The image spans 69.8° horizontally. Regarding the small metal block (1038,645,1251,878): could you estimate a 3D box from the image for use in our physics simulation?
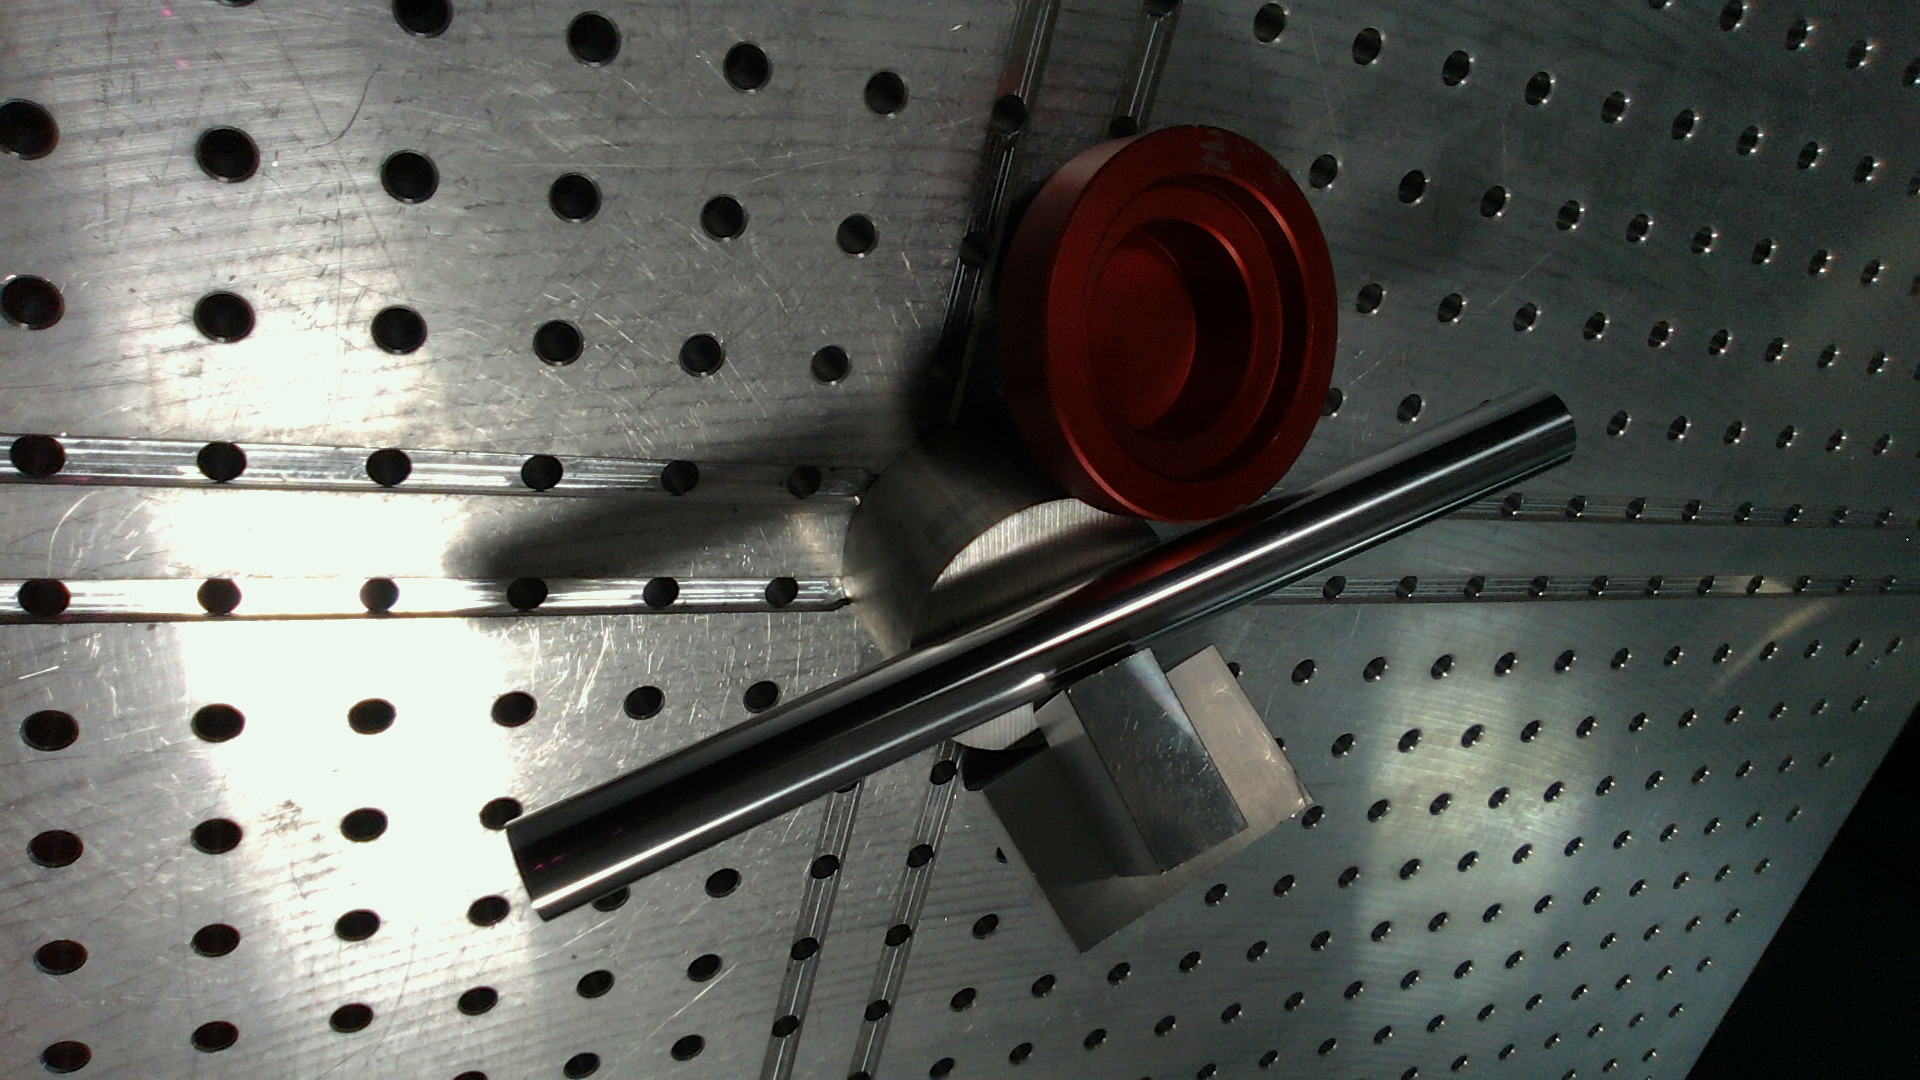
[{"bbox_3d":[0.045,0.060,0.359,0.025,0.050,0.050,-26,170,-12],"label":"small metal block"}]

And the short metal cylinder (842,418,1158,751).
[{"bbox_3d":[0.012,0.012,0.390,0.080,0.050,0.080,-14,124,-21],"label":"short metal cylinder"}]

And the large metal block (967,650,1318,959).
[{"bbox_3d":[0.052,0.080,0.423,0.080,0.050,0.080,-31,173,-8],"label":"large metal block"}]

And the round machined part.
[{"bbox_3d":[0.049,-0.055,0.359,0.098,0.042,0.098,-5,99,-33],"label":"round machined part"}]

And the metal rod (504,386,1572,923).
[{"bbox_3d":[0.033,0.022,0.359,0.301,0.025,0.025,-22,127,-15],"label":"metal rod"}]
